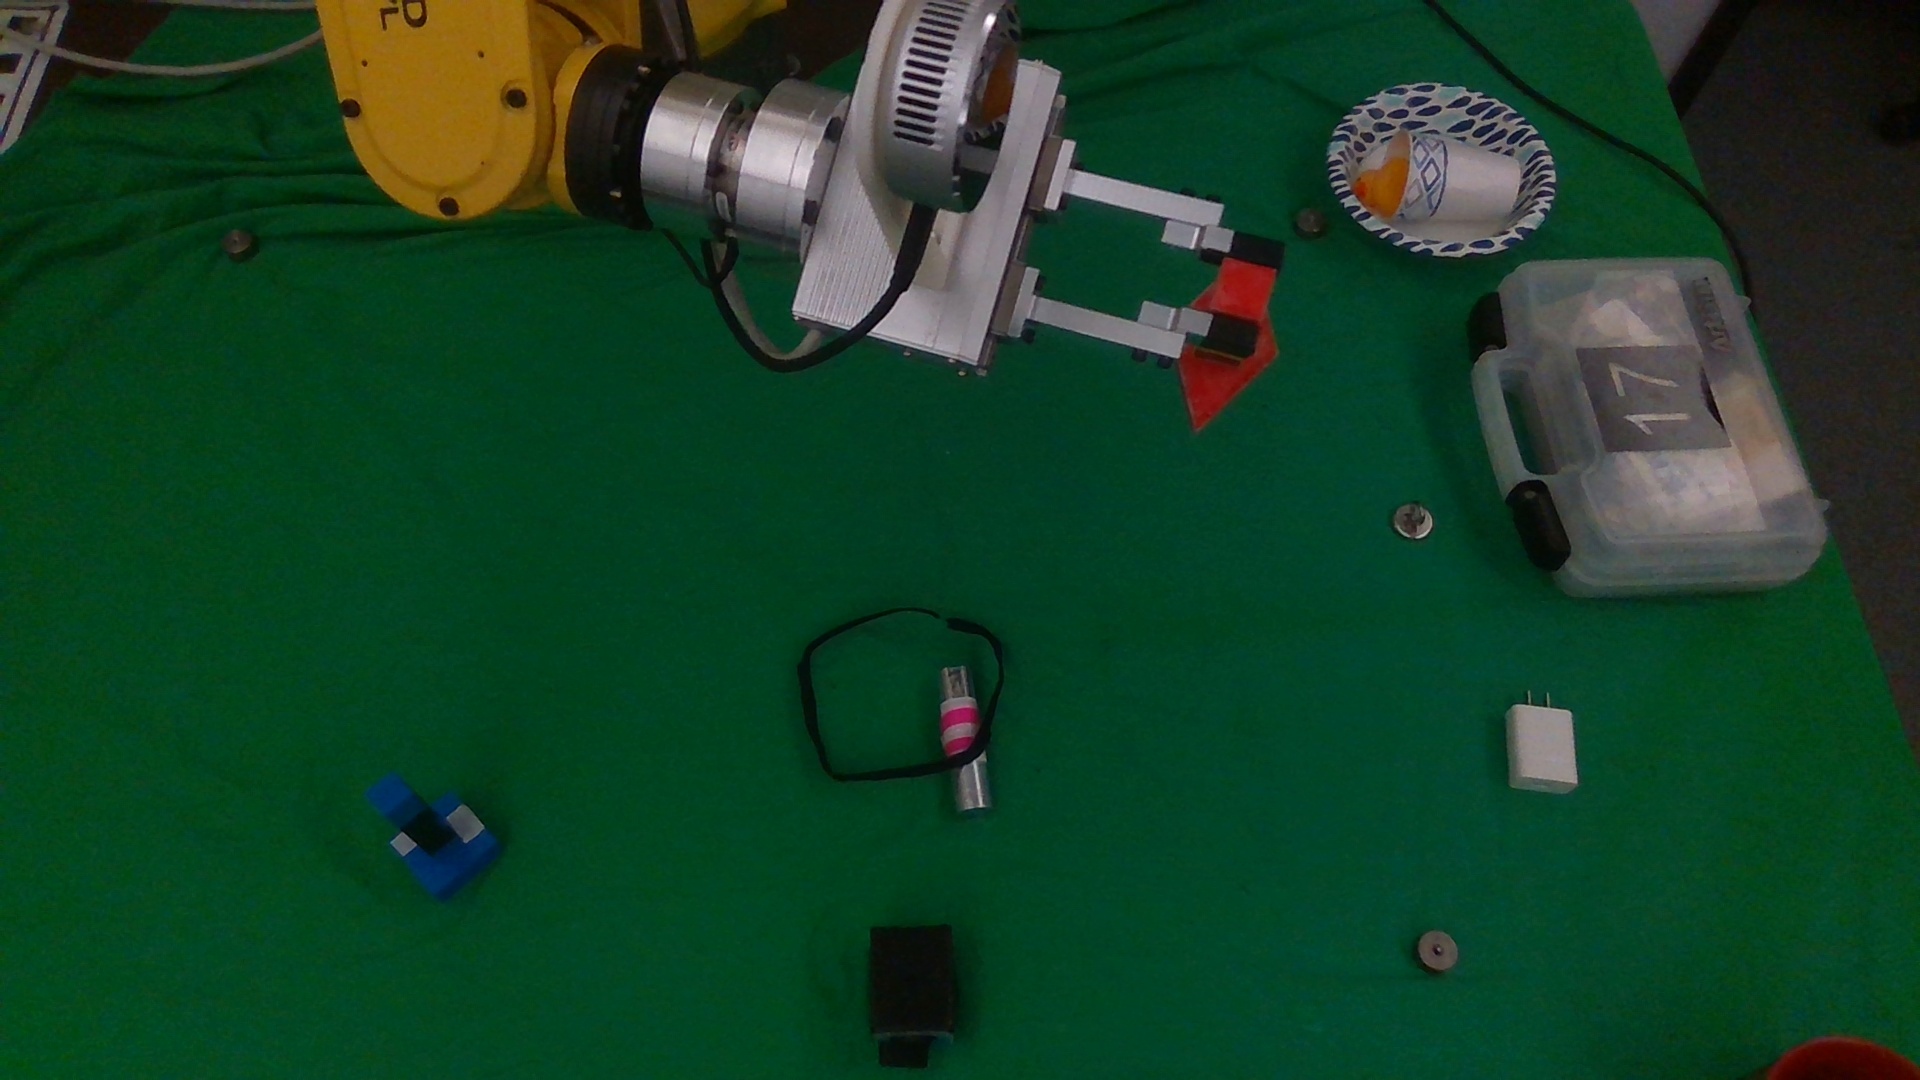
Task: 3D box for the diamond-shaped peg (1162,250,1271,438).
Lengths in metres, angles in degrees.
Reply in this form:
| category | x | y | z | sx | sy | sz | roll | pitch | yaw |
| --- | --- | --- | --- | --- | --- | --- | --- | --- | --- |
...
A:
| category | x | y | z | sx | sy | sz | roll | pitch | yaw |
| --- | --- | --- | --- | --- | --- | --- | --- | --- | --- |
| diamond-shaped peg | 0.106 | -0.089 | 0.563 | 0.045 | 0.122 | 0.074 | -13 | 86 | 6 |

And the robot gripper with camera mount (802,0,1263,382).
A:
| category | x | y | z | sx | sy | sz | roll | pitch | yaw |
| --- | --- | --- | --- | --- | --- | --- | --- | --- | --- |
| robot gripper with camera mount | 0.028 | -0.128 | 0.459 | 0.159 | 0.193 | 0.119 | 16 | 81 | 7 |
